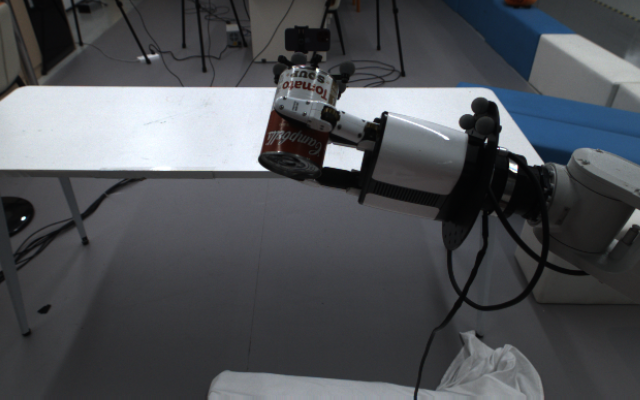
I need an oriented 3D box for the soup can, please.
[{"bbox_3d":[-0.020,-0.082,0.515,0.067,0.067,0.101,8,74,9],"label":"soup can"}]
